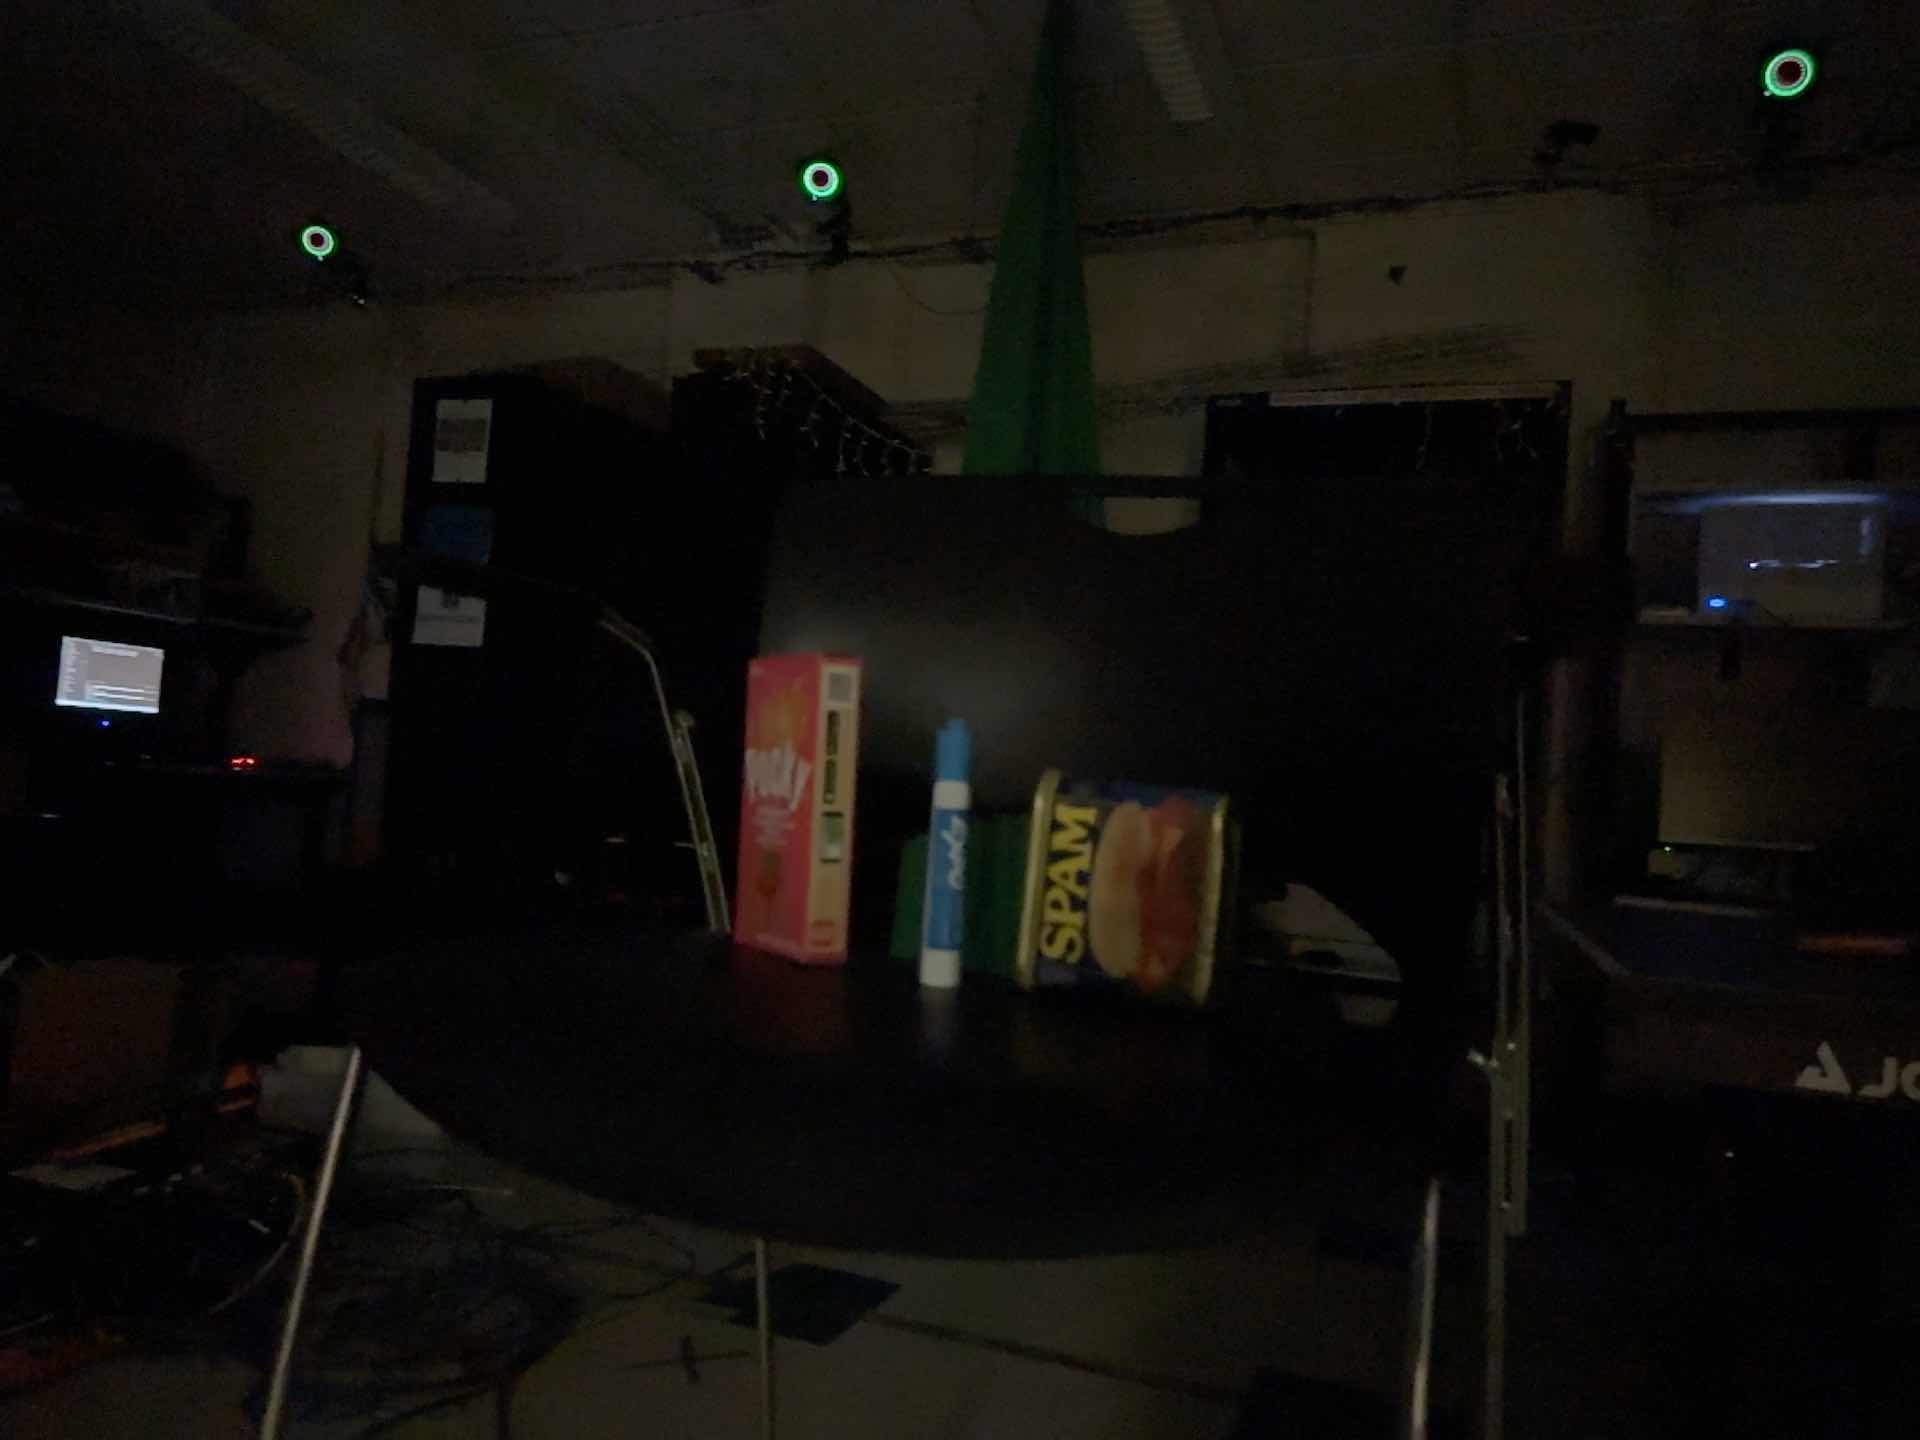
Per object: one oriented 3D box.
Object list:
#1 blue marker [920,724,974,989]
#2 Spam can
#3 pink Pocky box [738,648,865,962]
[{"bbox_3d":[-0.006,0.063,0.623,0.020,0.121,0.020,3,0,0],"label":"blue marker"},{"bbox_3d":[0.078,0.075,0.606,0.083,0.100,0.056,6,-1,15],"label":"Spam can"},{"bbox_3d":[-0.083,0.042,0.693,0.029,0.155,0.084,3,-2,-33],"label":"pink Pocky box"}]
